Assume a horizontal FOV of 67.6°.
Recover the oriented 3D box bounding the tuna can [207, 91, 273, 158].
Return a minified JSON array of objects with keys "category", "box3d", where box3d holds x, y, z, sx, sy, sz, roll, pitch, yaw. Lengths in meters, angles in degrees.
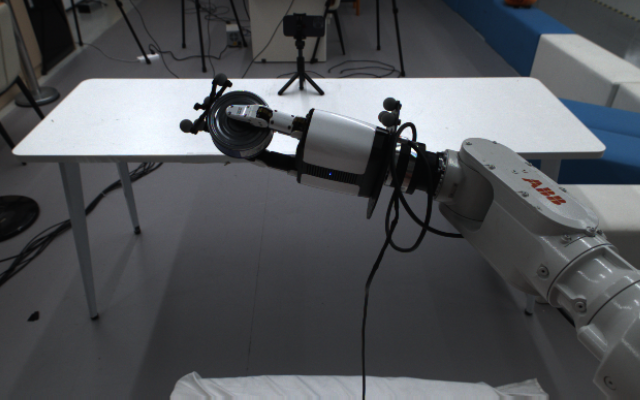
[{"category":"tuna can","box3d":[-0.101,-0.096,0.637,0.085,0.034,0.085,1,77,-6]}]
